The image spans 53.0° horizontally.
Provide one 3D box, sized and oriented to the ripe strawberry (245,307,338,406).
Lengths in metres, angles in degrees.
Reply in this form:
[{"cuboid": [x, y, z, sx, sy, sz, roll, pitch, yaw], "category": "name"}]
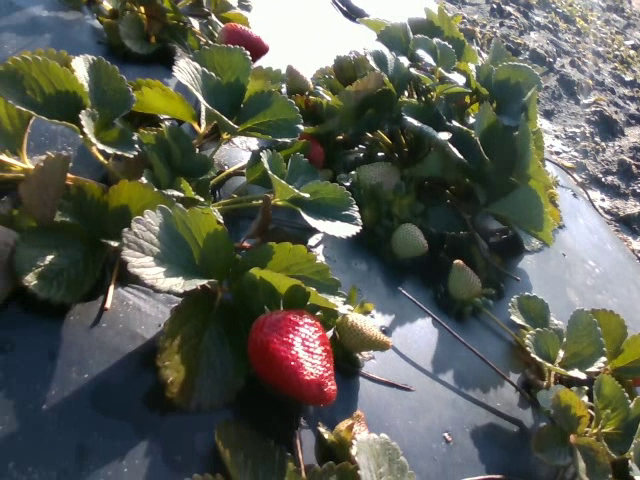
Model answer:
[{"cuboid": [-0.011, 0.061, 0.315, 0.056, 0.055, 0.072, -38, 37, -6], "category": "ripe strawberry"}]
